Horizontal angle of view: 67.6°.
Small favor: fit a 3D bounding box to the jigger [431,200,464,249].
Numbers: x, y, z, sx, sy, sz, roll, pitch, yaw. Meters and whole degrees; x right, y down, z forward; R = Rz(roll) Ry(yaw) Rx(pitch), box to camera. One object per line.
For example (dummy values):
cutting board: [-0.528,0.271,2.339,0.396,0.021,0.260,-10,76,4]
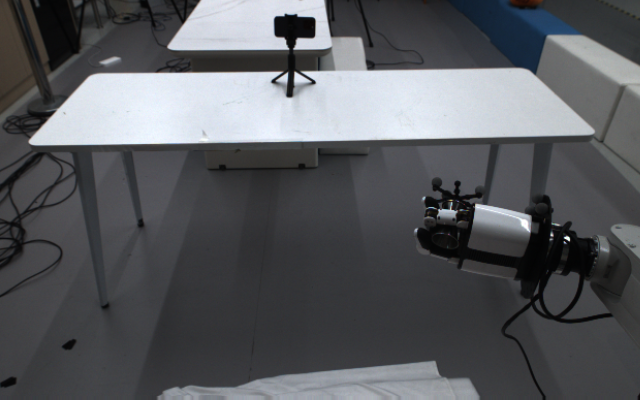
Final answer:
jigger: [0.209,0.036,0.768,0.043,0.043,0.071,13,58,15]
